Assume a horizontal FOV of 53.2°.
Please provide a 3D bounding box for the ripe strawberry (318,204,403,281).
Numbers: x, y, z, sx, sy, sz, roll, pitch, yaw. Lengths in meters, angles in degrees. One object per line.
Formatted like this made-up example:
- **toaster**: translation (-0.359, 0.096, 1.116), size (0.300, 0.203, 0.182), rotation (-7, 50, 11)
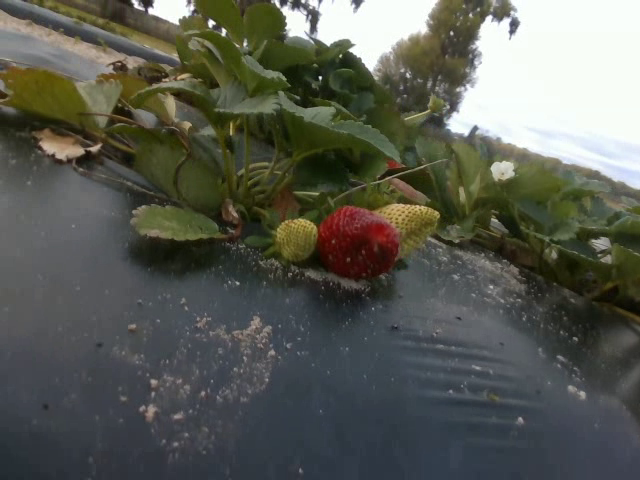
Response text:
- **ripe strawberry**: translation (0.024, 0.003, 0.311), size (0.046, 0.046, 0.059), rotation (6, -8, -24)
